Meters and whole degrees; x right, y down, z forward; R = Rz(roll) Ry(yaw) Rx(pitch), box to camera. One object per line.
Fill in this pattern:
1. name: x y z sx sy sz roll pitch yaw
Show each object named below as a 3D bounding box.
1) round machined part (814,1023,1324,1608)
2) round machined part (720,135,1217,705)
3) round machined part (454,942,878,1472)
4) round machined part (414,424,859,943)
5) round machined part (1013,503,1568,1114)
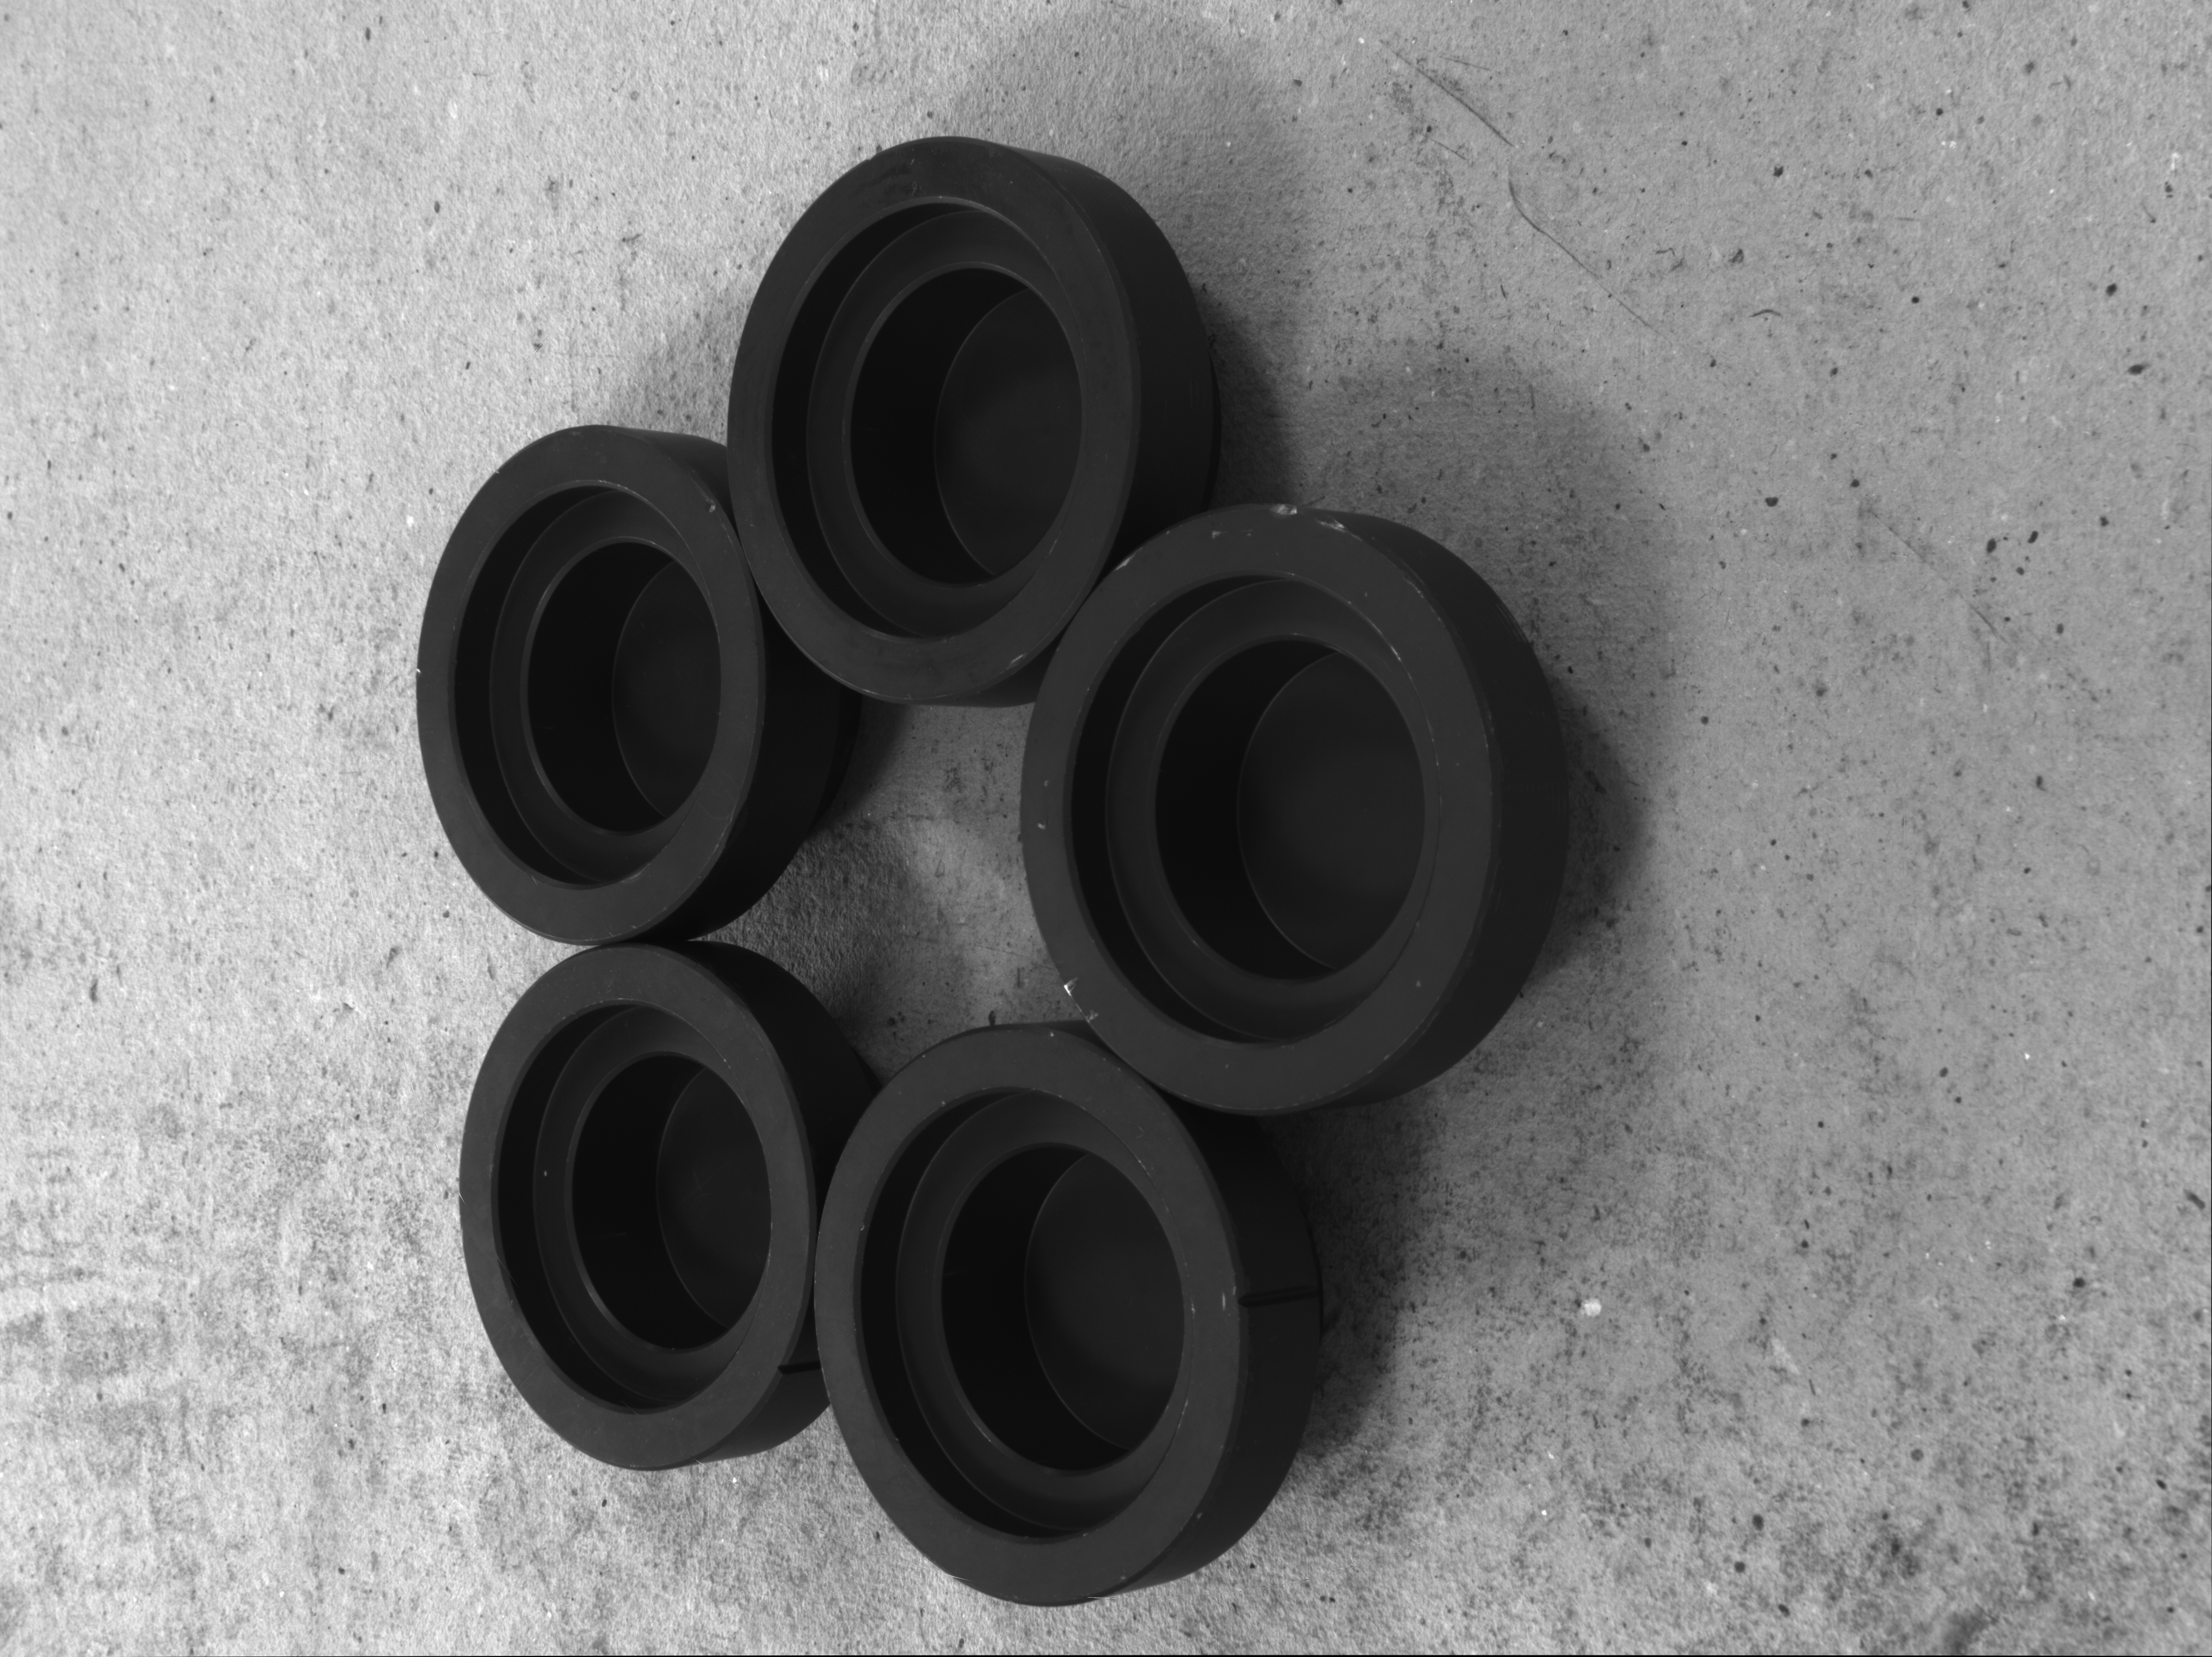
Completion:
1. round machined part: -0.001 0.082 0.635 0.098 0.042 0.098 -1 89 39
2. round machined part: -0.019 -0.070 0.649 0.098 0.042 0.098 -2 88 39
3. round machined part: -0.076 0.071 0.697 0.098 0.042 0.098 -2 88 39
4. round machined part: -0.086 -0.027 0.706 0.098 0.042 0.098 -2 87 40
5. round machined part: 0.035 -0.003 0.604 0.098 0.042 0.098 -2 88 39
